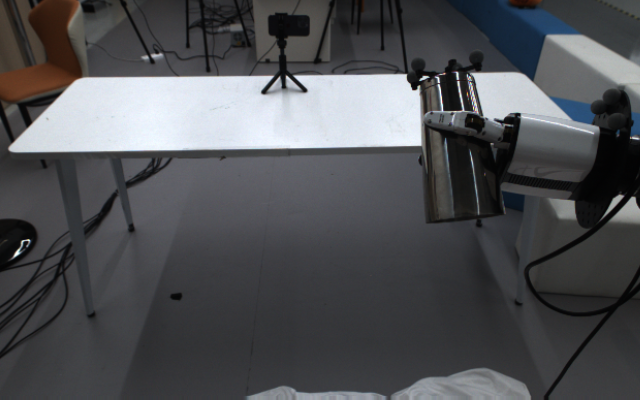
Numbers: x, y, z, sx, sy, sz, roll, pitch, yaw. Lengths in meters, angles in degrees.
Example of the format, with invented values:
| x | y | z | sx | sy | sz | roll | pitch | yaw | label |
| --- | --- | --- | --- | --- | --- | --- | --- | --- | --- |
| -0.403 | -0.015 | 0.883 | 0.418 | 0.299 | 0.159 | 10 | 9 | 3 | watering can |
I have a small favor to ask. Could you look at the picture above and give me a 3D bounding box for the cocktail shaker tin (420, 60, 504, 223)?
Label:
| x | y | z | sx | sy | sz | roll | pitch | yaw | label |
| --- | --- | --- | --- | --- | --- | --- | --- | --- | --- |
| 0.165 | -0.062 | 0.585 | 0.093 | 0.170 | 0.093 | -6 | -7 | -1 | cocktail shaker tin |
